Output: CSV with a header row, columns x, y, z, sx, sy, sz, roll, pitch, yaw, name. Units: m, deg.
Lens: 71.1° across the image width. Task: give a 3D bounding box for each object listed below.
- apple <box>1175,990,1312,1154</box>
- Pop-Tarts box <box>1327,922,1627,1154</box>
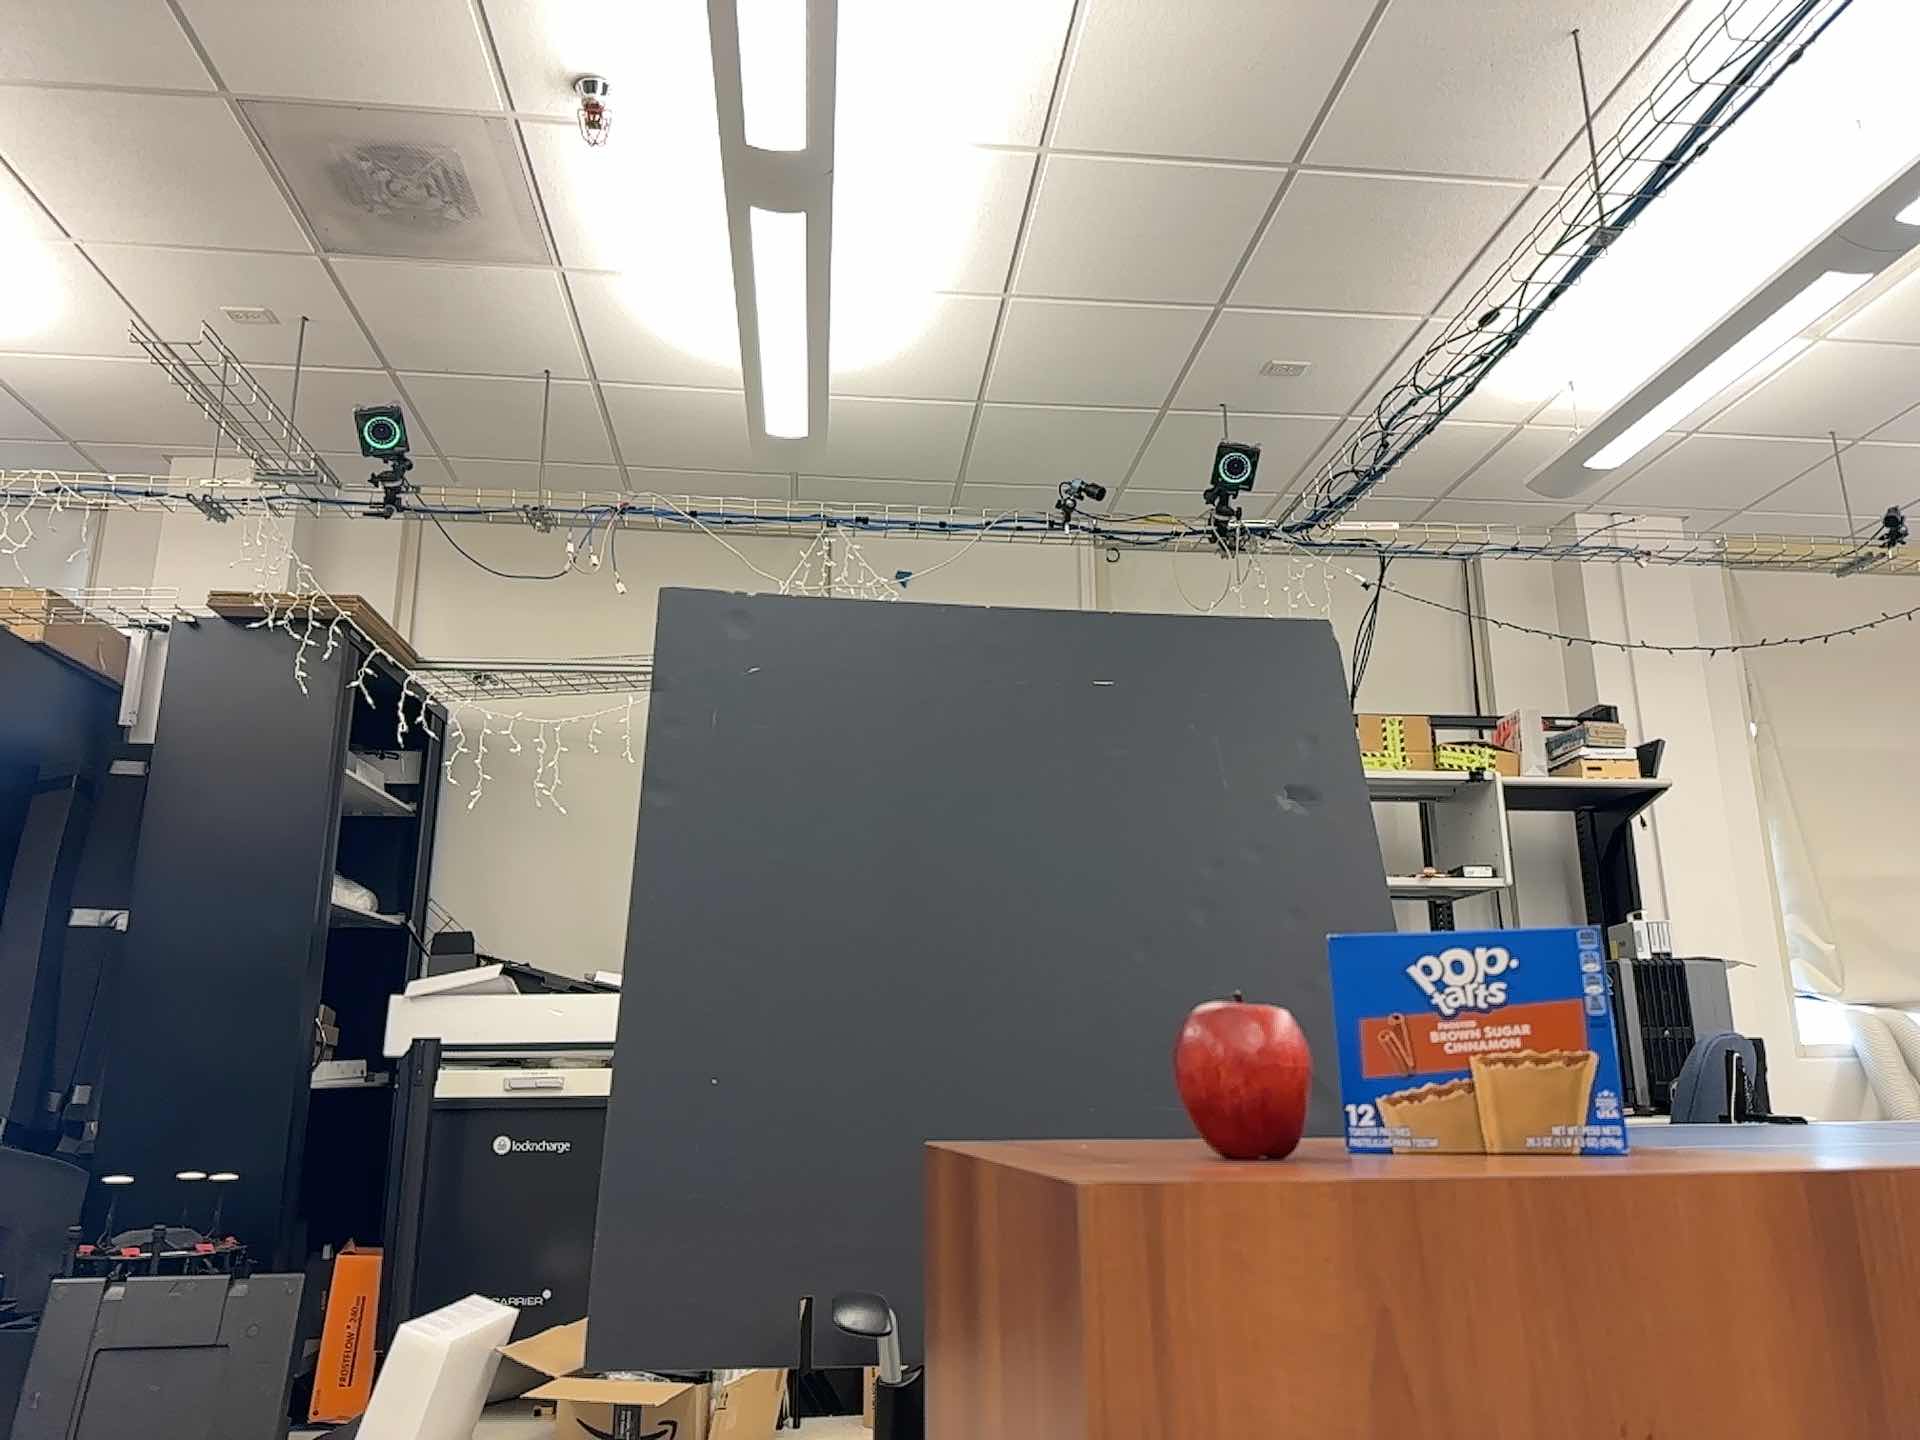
x,y,z,sx,sy,sz,roll,pitch,yaw,name
0.168,0.208,0.796,0.079,0.093,0.079,1,-14,0,apple
0.335,0.209,0.880,0.161,0.135,0.075,-6,-16,21,Pop-Tarts box
